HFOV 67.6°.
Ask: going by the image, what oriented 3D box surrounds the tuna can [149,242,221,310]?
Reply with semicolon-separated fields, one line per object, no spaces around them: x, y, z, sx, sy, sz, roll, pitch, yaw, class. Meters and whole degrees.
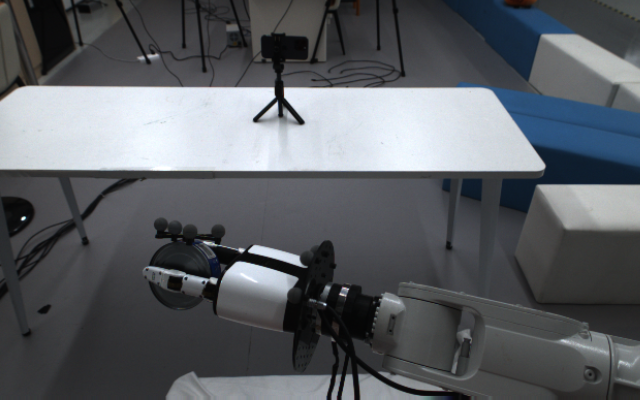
-0.168;0.093;0.609;0.085;0.085;0.034;12;3;13;tuna can
